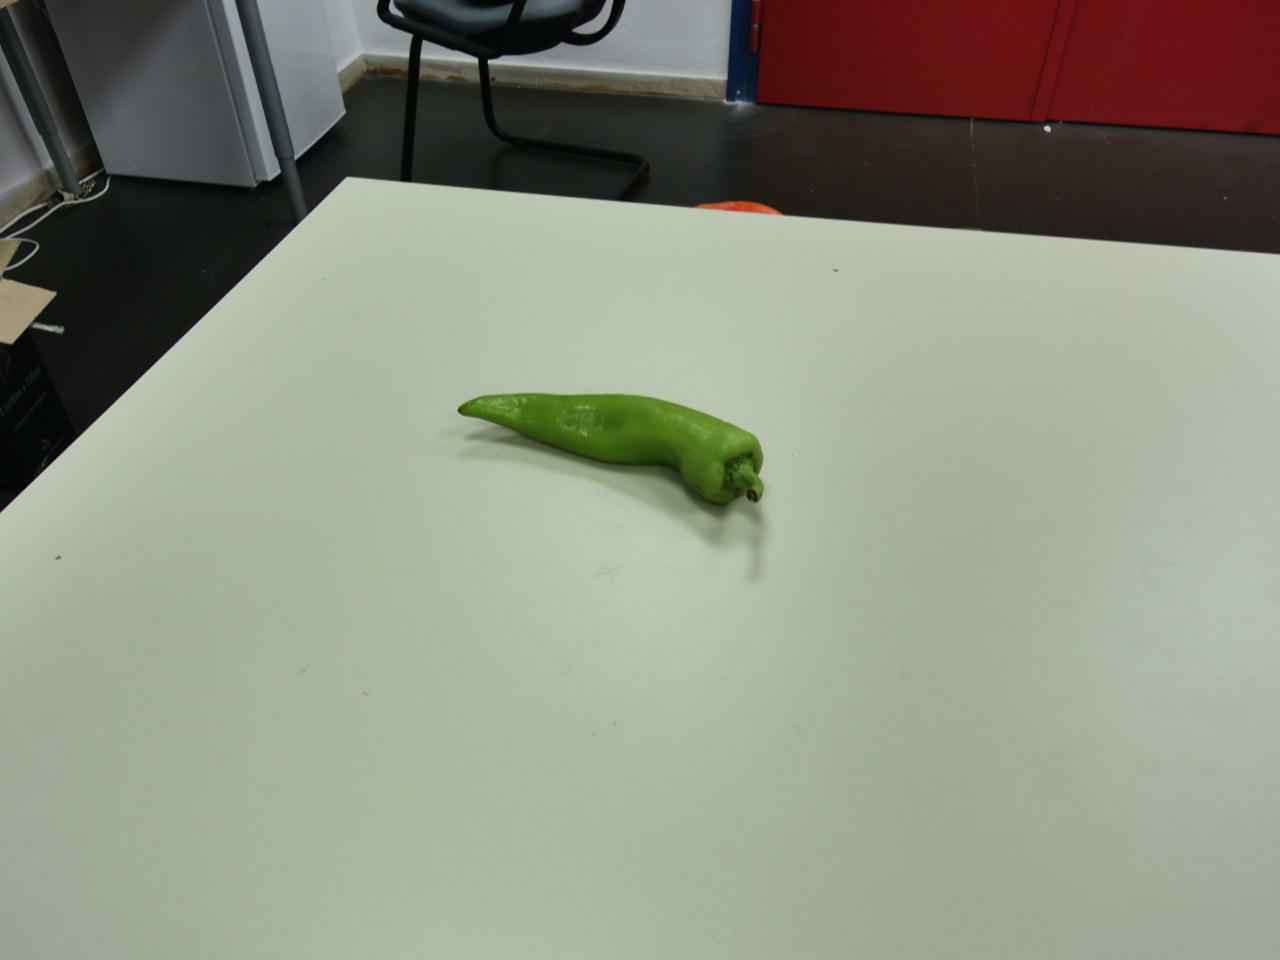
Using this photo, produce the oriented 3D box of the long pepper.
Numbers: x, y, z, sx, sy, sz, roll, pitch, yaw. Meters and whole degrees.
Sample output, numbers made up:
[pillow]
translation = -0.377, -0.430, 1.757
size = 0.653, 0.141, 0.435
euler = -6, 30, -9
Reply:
[long pepper]
translation = -0.009, -0.029, 0.611
size = 0.205, 0.045, 0.065
euler = 19, 43, 22
